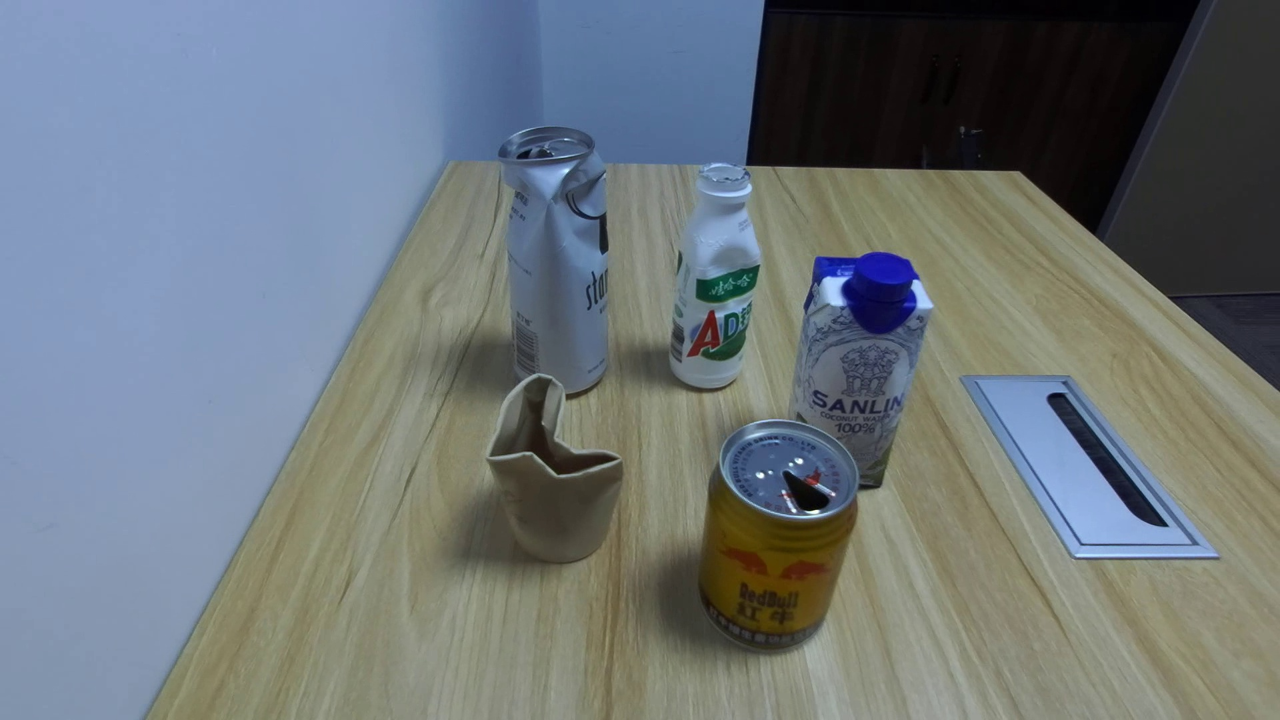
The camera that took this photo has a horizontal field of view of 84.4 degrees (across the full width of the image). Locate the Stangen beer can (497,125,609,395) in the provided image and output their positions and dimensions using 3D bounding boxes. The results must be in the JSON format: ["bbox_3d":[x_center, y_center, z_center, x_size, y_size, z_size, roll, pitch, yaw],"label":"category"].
[{"bbox_3d":[-0.054,-0.057,0.451,0.065,0.166,0.066,22,41,27],"label":"Stangen beer can"}]

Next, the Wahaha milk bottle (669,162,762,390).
[{"bbox_3d":[0.049,-0.053,0.461,0.055,0.149,0.055,1,36,0],"label":"Wahaha milk bottle"}]

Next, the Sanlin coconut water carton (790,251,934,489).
[{"bbox_3d":[0.119,0.004,0.392,0.060,0.144,0.060,1,36,1],"label":"Sanlin coconut water carton"}]

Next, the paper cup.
[{"bbox_3d":[-0.039,0.059,0.363,0.058,0.083,0.066,7,39,3],"label":"paper cup"}]

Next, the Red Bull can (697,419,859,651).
[{"bbox_3d":[0.064,0.085,0.336,0.067,0.093,0.067,2,34,-1],"label":"Red Bull can"}]
